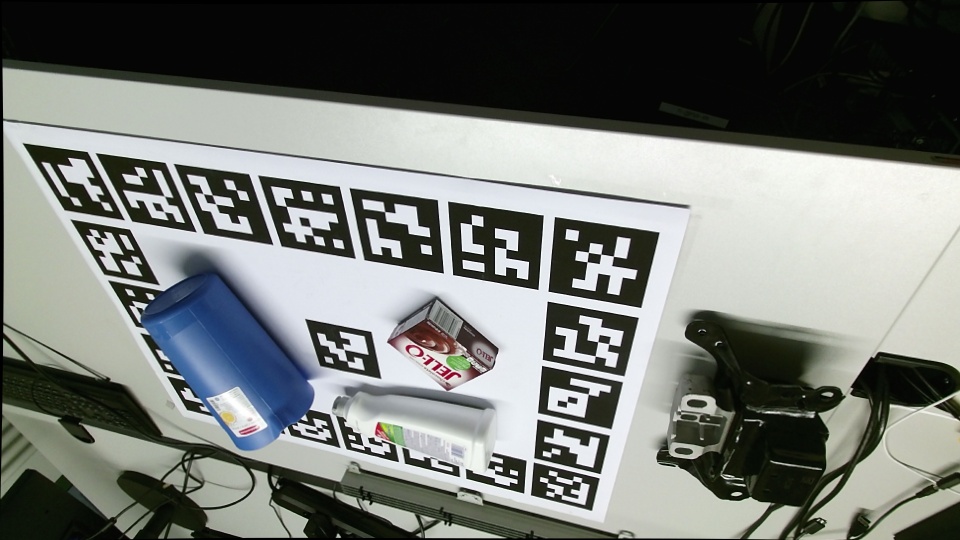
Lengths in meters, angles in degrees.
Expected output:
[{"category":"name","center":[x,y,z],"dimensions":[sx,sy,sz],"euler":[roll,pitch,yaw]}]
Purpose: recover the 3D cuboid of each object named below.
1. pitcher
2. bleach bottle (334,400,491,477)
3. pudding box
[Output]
[{"category":"pitcher","center":[-0.369,0.122,0.778],"dimensions":[0.188,0.133,0.242],"euler":[14,134,55]},{"category":"bleach bottle","center":[-0.112,0.236,0.799],"dimensions":[0.251,0.068,0.102],"euler":[7,124,16]},{"category":"pudding box","center":[-0.055,0.103,0.684],"dimensions":[0.114,0.038,0.090],"euler":[45,133,-15]}]
